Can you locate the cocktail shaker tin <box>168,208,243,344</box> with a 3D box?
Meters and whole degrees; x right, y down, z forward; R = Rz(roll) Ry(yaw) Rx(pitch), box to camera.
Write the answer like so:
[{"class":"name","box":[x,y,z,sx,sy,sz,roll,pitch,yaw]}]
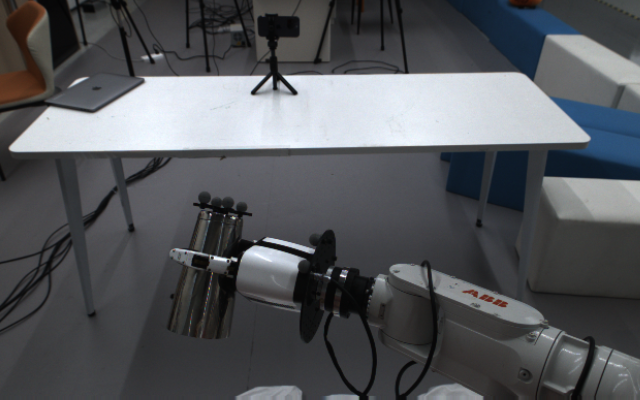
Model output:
[{"class":"cocktail shaker tin","box":[-0.159,0.106,0.704,0.093,0.170,0.093,10,-5,1]}]
